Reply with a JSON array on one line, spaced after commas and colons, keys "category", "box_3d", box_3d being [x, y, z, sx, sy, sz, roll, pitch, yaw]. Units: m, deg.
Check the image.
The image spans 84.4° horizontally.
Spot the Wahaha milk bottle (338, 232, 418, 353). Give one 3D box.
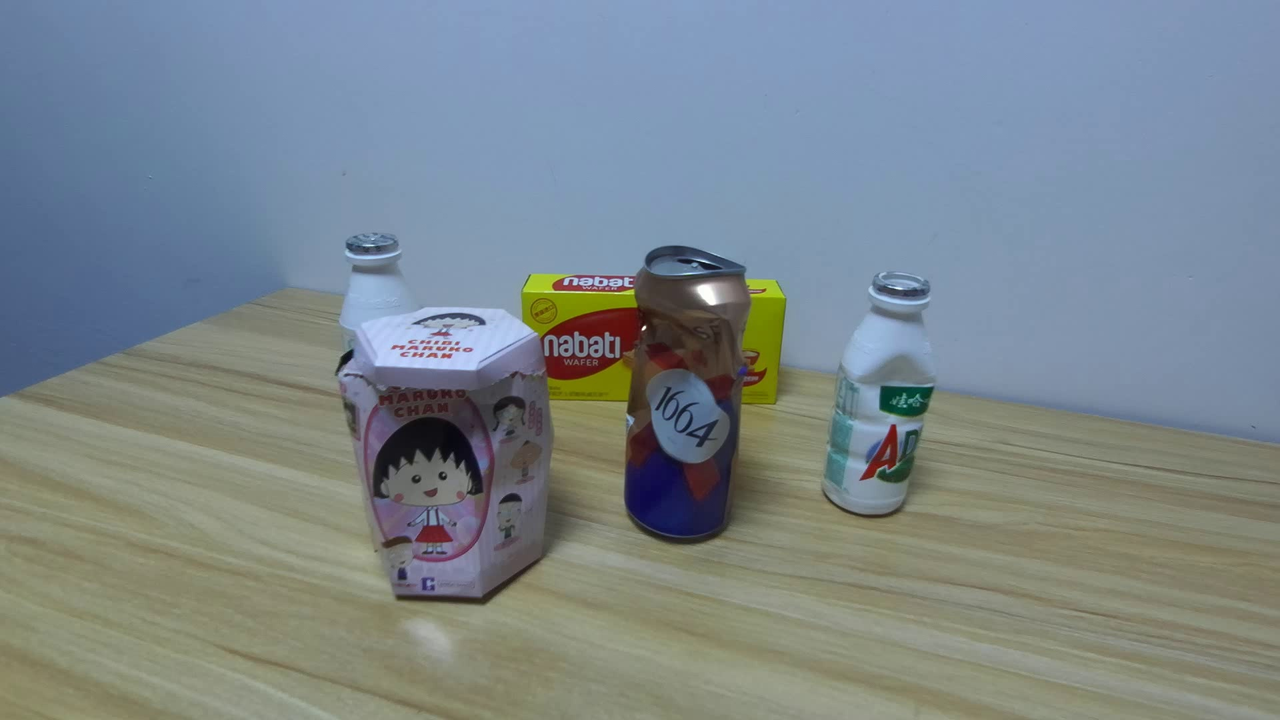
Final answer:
[{"category": "Wahaha milk bottle", "box_3d": [-0.173, -0.012, 0.477, 0.053, 0.147, 0.053, 3, 28, -1]}]

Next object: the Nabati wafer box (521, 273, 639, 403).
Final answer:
[{"category": "Nabati wafer box", "box_3d": [0.011, -0.015, 0.563, 0.203, 0.093, 0.042, 1, 23, 0]}]

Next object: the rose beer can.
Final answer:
[{"category": "rose beer can", "box_3d": [0.025, 0.021, 0.402, 0.073, 0.162, 0.068, 11, 24, 16]}]

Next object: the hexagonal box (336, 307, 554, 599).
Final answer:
[{"category": "hexagonal box", "box_3d": [-0.100, 0.047, 0.374, 0.090, 0.134, 0.090, 20, 28, 37]}]
